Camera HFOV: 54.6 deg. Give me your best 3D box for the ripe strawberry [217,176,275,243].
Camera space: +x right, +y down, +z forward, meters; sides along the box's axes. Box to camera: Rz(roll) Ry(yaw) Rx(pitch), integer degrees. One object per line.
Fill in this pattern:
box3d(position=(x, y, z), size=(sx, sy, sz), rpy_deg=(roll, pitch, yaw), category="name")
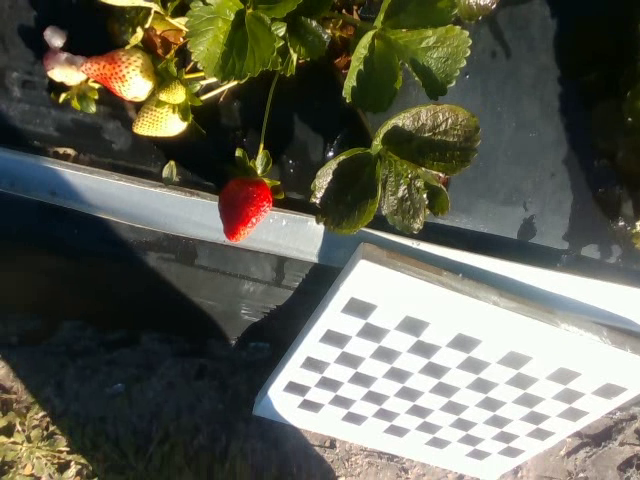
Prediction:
box3d(position=(-0.046, -0.016, 0.350), size=(0.036, 0.045, 0.038), rpy_deg=(21, -30, -8), category="ripe strawberry")
